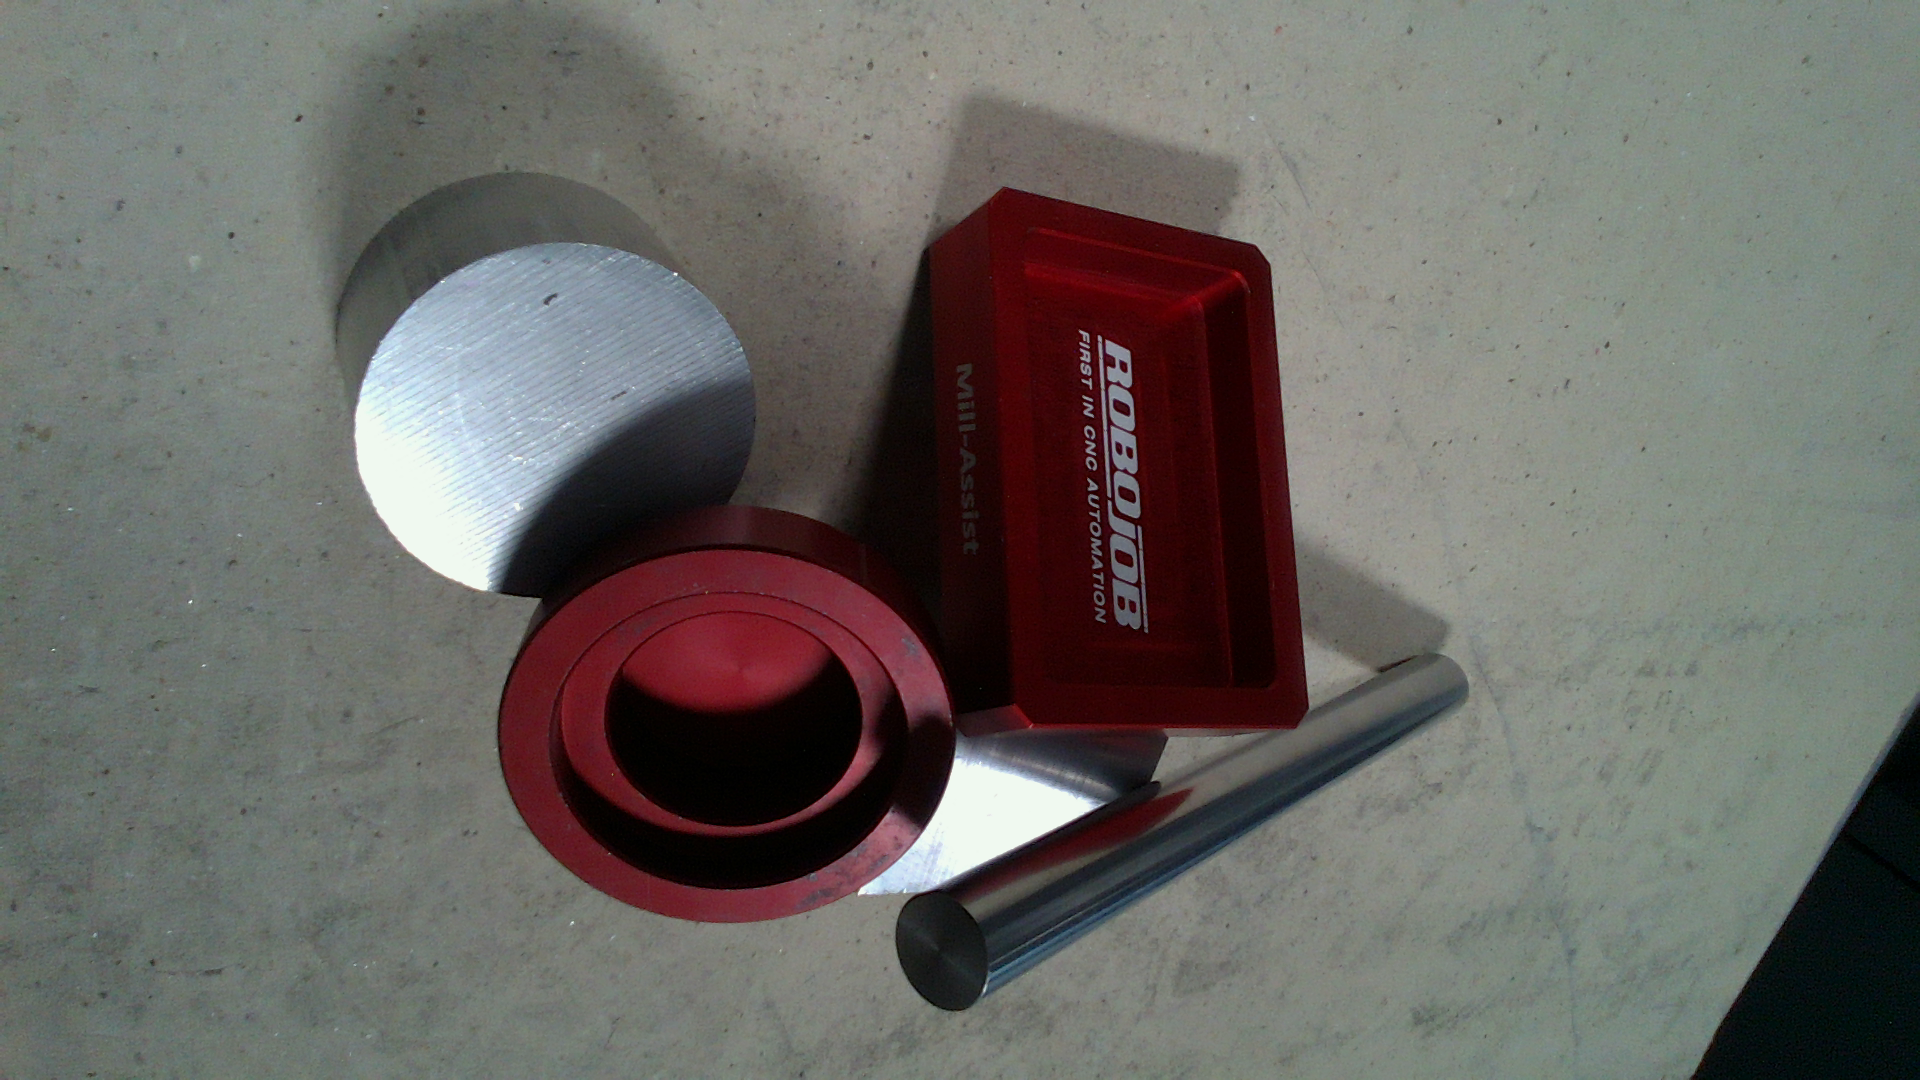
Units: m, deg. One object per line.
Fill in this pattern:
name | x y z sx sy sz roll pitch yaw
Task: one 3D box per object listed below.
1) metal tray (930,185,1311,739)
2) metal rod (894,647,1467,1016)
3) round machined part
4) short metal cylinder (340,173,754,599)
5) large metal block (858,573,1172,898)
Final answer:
metal tray | 0.041 -0.016 0.349 0.090 0.030 0.130 5 77 -30
metal rod | 0.088 0.070 0.404 0.301 0.025 0.025 -10 126 -52
round machined part | -0.052 0.036 0.316 0.098 0.042 0.098 -2 116 -5
short metal cylinder | -0.091 -0.034 0.303 0.080 0.050 0.080 -14 124 -21
large metal block | 0.000 0.051 0.385 0.080 0.080 0.050 5 116 -30
